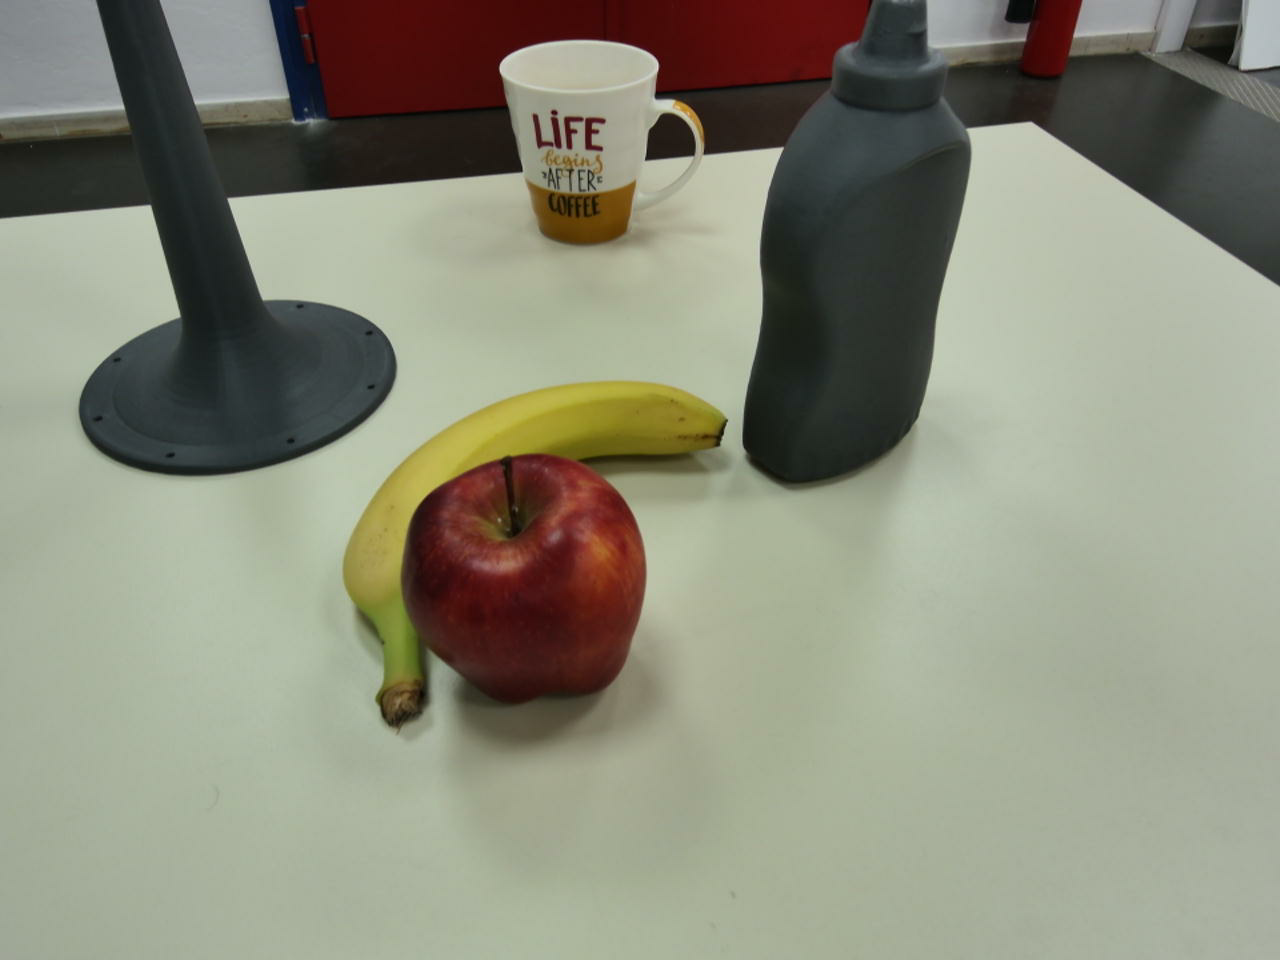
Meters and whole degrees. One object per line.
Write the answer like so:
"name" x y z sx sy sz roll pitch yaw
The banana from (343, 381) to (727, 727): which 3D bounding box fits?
"banana" -0.055 0.006 0.413 0.094 0.041 0.196 28 46 30
